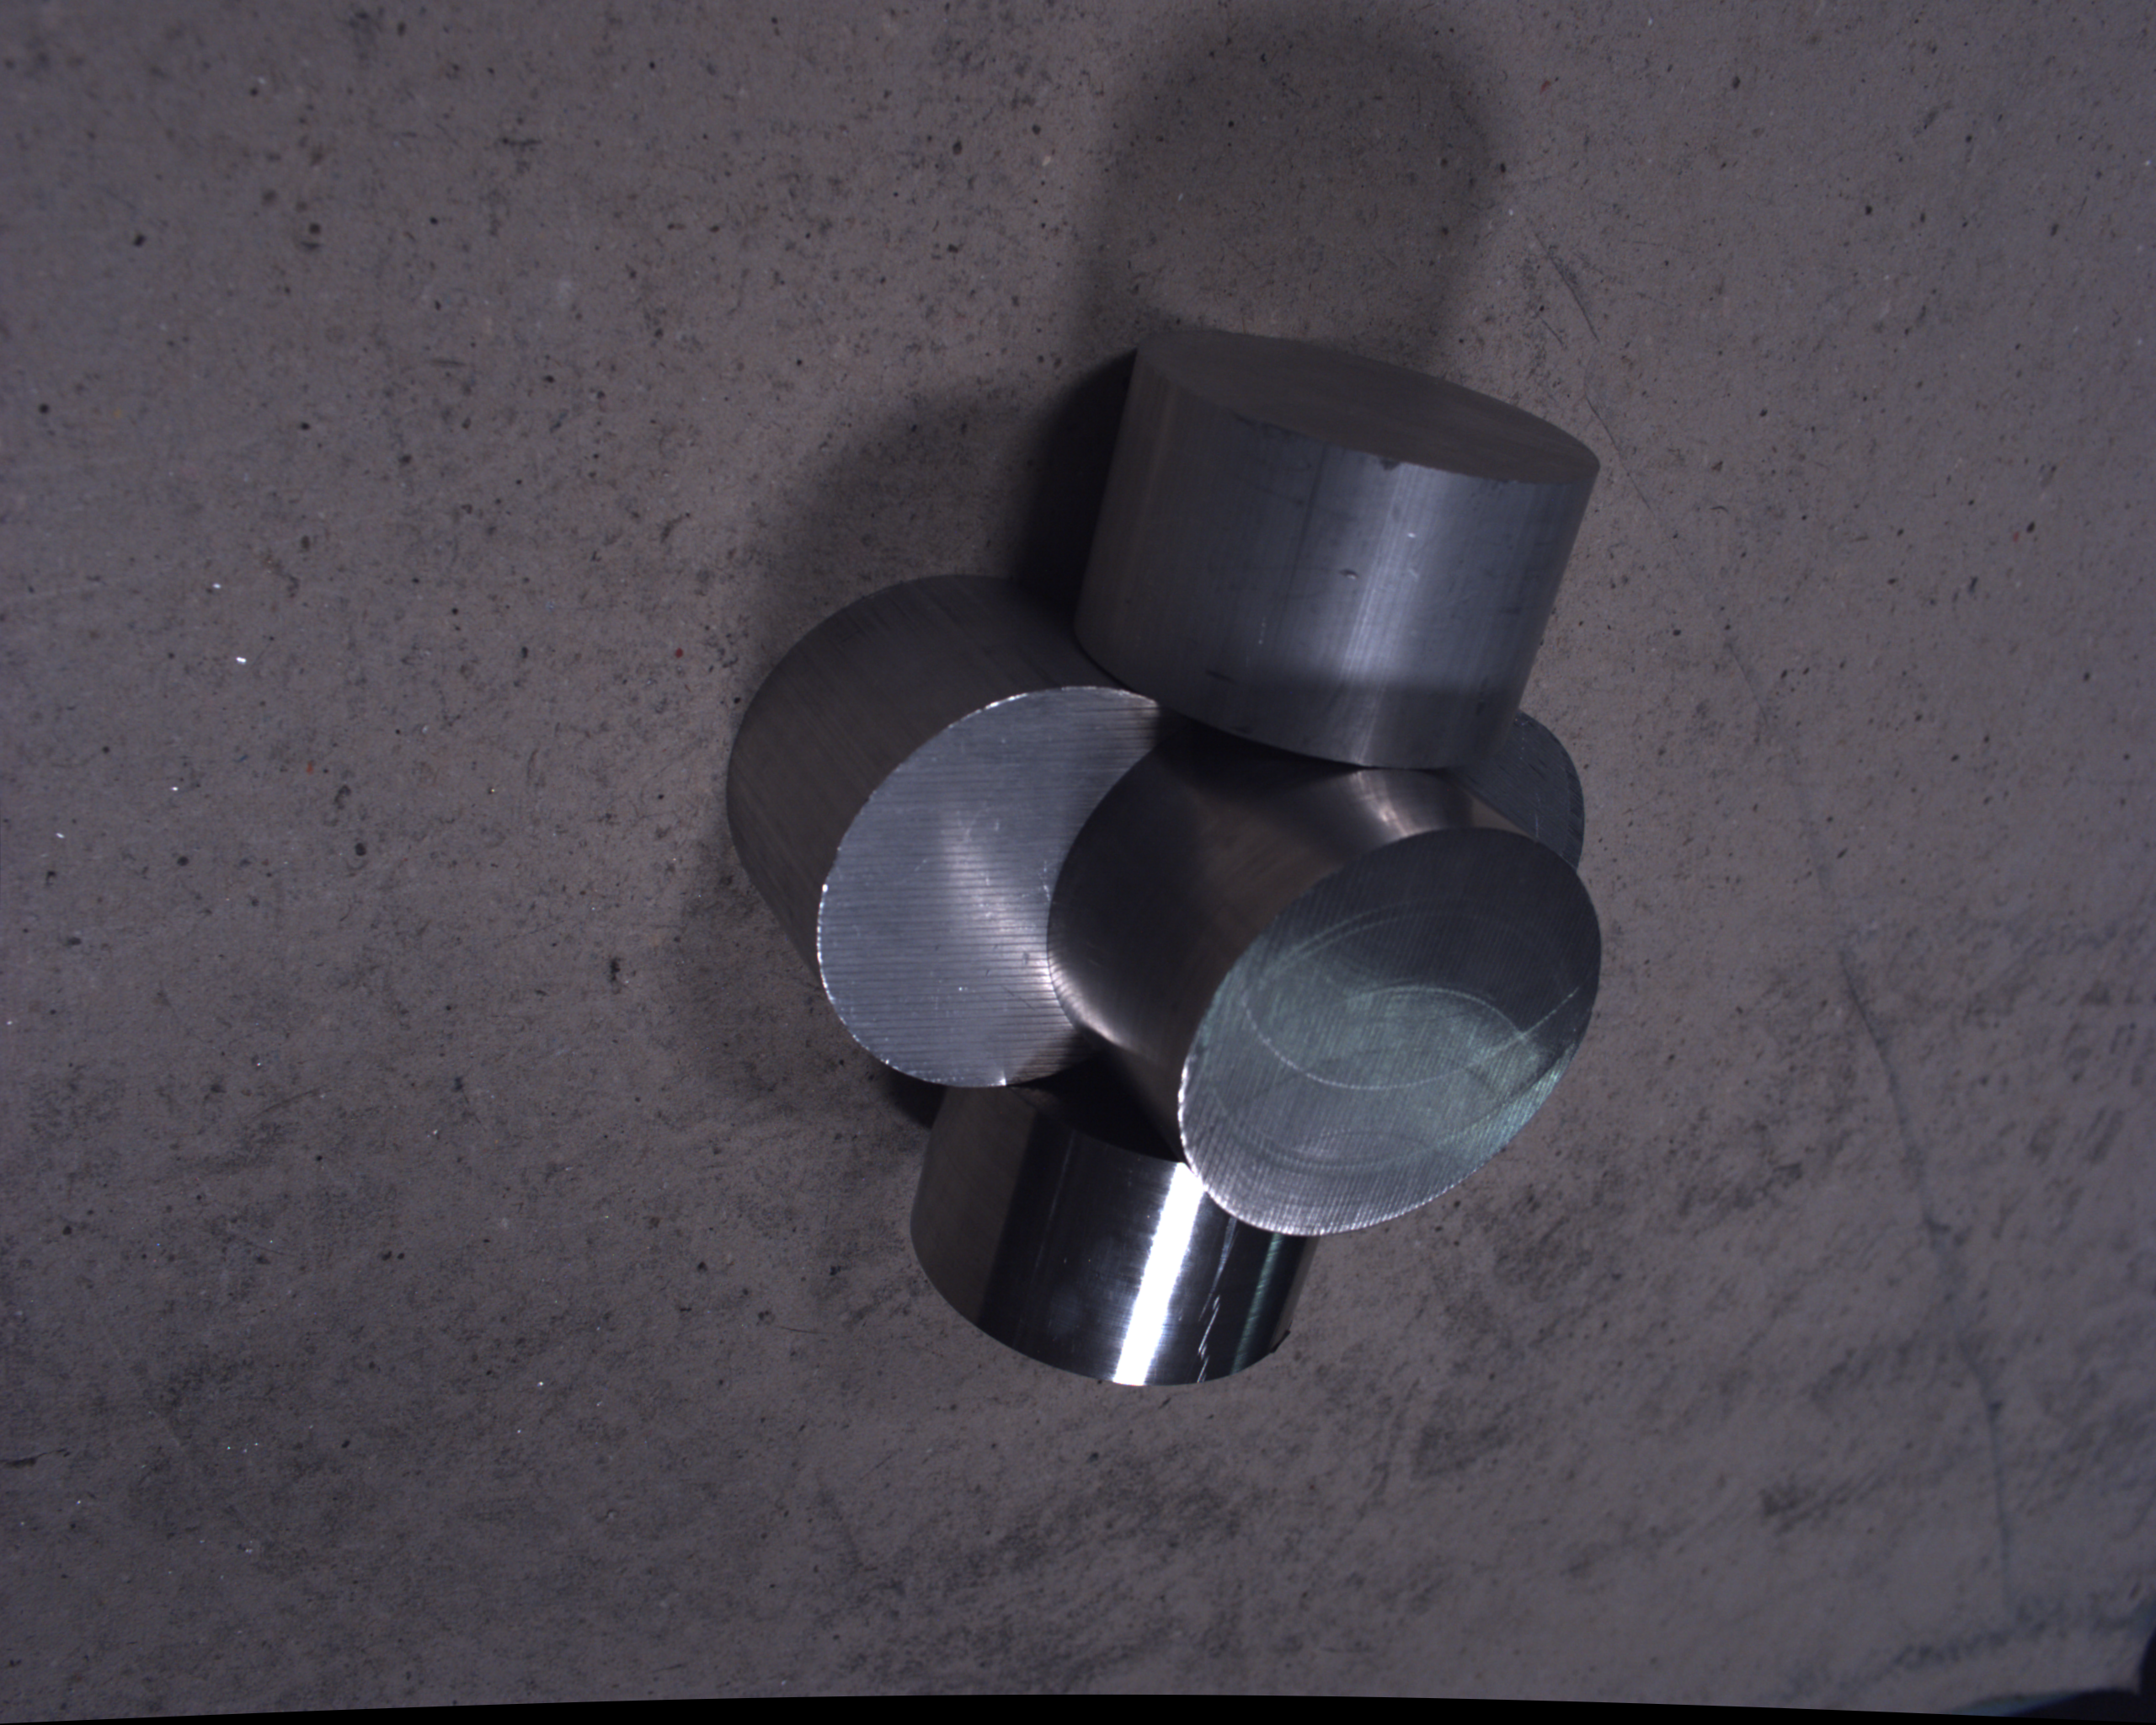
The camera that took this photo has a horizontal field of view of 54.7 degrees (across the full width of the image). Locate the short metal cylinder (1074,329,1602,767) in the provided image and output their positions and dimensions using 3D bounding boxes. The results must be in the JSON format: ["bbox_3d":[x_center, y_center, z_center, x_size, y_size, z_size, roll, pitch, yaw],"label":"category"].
[{"bbox_3d":[0.044,-0.057,0.364,0.081,0.080,0.050,0,119,-29],"label":"short metal cylinder"}]

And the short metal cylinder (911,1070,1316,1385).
[{"bbox_3d":[0.011,0.058,0.417,0.081,0.080,0.050,0,118,-29],"label":"short metal cylinder"}]

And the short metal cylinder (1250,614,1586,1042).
[{"bbox_3d":[0.053,-0.007,0.419,0.081,0.050,0.079,-14,125,-21],"label":"short metal cylinder"}]

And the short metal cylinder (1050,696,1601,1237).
[{"bbox_3d":[0.042,0.018,0.362,0.081,0.050,0.079,-14,125,-21],"label":"short metal cylinder"}]

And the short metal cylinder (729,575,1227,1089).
[{"bbox_3d":[-0.017,-0.006,0.380,0.081,0.050,0.079,-14,125,-21],"label":"short metal cylinder"}]
